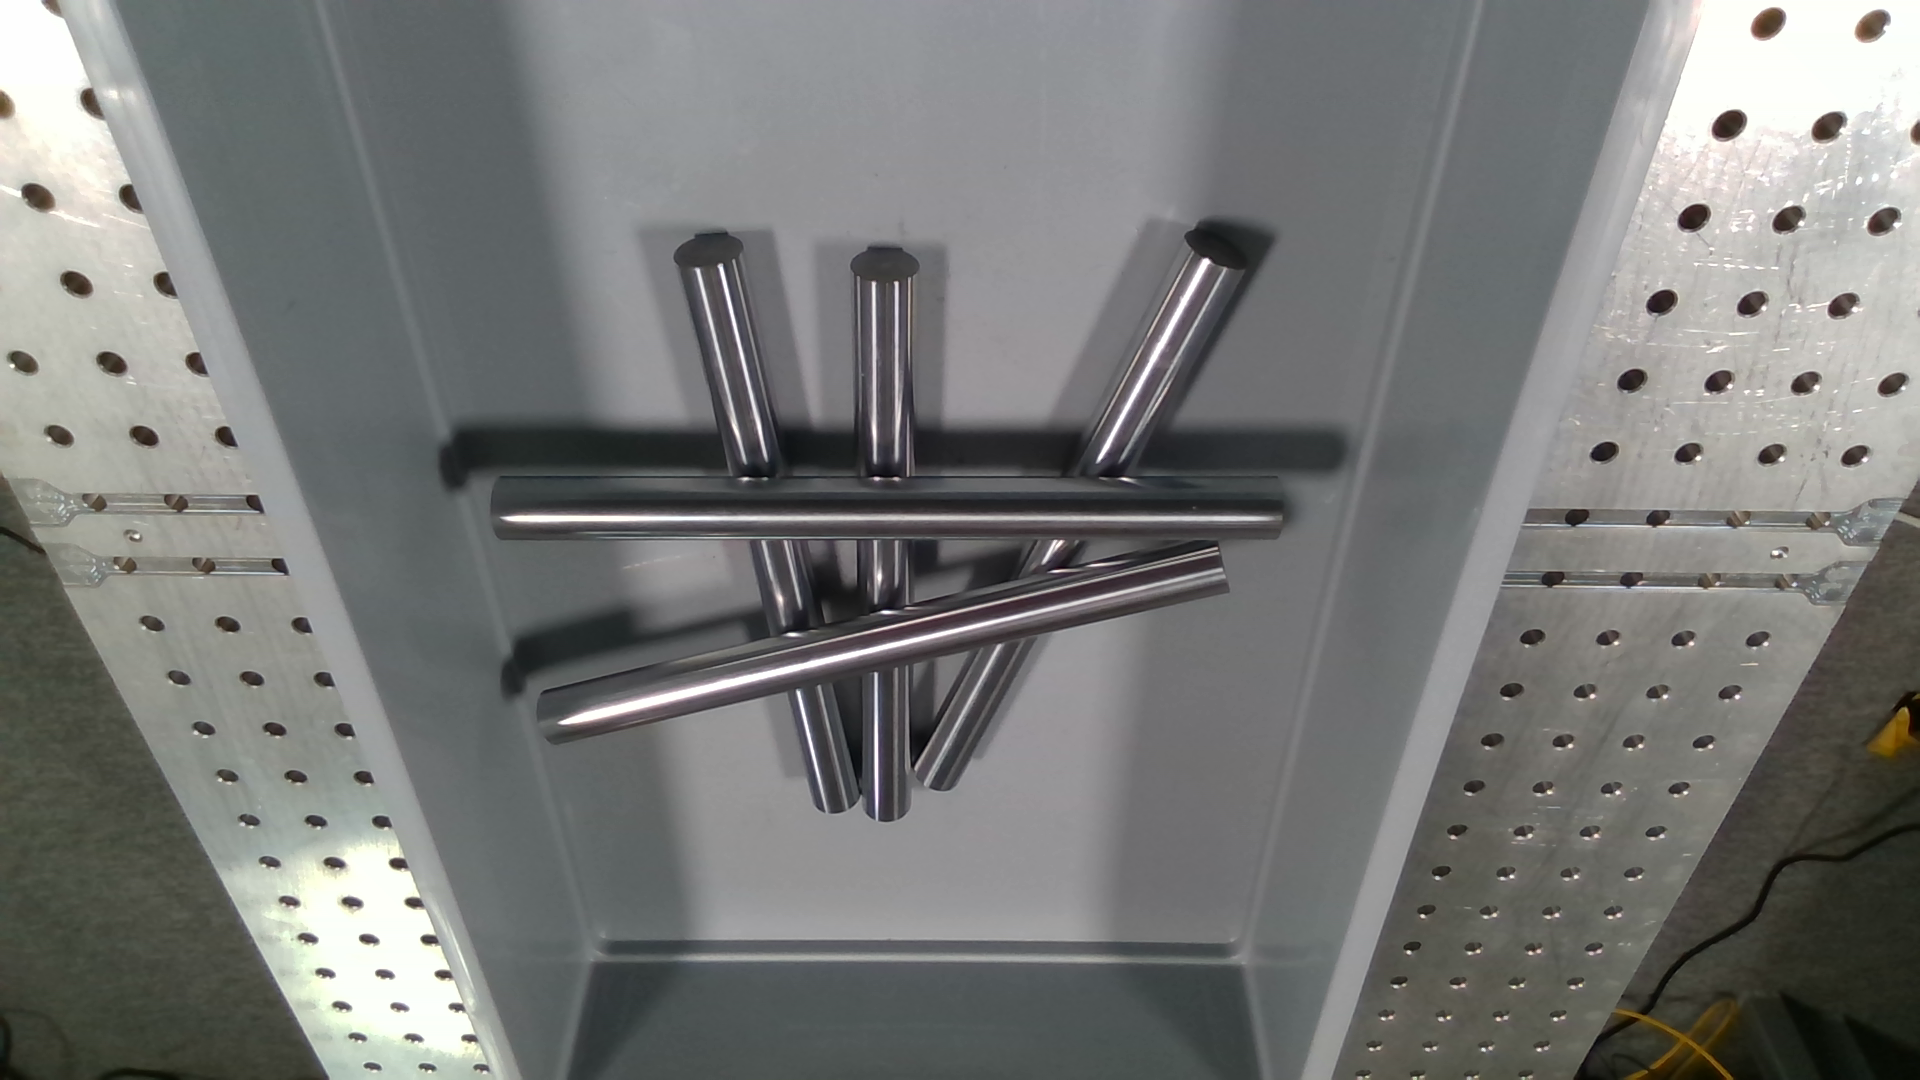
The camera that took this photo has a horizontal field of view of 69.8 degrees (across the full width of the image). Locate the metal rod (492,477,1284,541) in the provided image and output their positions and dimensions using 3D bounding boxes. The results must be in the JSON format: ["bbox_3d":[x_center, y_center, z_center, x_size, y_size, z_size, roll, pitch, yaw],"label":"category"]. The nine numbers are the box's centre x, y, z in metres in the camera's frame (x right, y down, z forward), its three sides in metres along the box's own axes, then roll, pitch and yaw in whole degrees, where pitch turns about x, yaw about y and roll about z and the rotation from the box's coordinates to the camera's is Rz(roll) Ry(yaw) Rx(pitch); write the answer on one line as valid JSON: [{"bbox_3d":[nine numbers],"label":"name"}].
[{"bbox_3d":[-0.027,-0.012,0.534,0.300,0.025,0.025,0,130,0],"label":"metal rod"}]

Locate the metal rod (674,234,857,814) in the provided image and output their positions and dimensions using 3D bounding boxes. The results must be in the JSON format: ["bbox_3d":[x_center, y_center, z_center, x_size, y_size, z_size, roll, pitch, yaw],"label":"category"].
[{"bbox_3d":[-0.076,0.011,0.587,0.025,0.025,0.301,-4,130,3],"label":"metal rod"}]

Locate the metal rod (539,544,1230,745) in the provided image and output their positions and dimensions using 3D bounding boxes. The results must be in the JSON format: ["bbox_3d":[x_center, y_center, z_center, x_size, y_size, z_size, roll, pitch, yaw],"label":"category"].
[{"bbox_3d":[-0.037,0.044,0.582,0.300,0.025,0.025,-14,129,11],"label":"metal rod"}]

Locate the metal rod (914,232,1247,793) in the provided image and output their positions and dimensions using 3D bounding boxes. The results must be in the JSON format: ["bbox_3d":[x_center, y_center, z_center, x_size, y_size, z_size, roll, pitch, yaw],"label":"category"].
[{"bbox_3d":[0.040,0.005,0.582,0.025,0.025,0.301,16,128,-13],"label":"metal rod"}]

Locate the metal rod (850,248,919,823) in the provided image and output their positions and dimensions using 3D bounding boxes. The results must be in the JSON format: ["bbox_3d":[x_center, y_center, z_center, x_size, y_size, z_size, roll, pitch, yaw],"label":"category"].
[{"bbox_3d":[-0.032,0.016,0.591,0.025,0.025,0.301,1,130,-1],"label":"metal rod"}]
